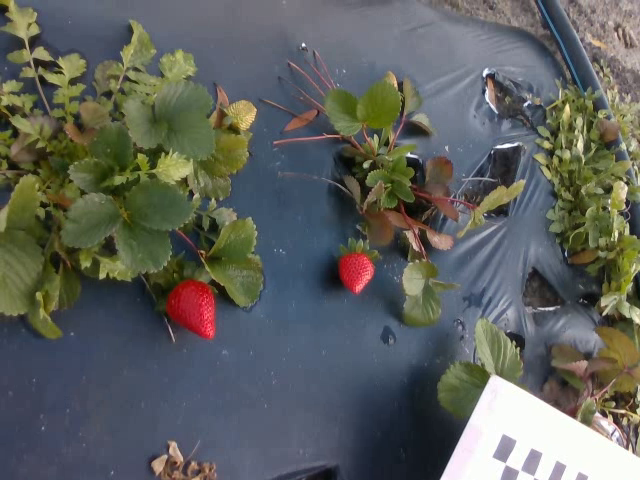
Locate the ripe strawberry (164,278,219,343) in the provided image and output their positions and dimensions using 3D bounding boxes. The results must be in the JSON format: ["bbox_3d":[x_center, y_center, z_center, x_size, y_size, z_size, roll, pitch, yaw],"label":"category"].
[{"bbox_3d":[-0.093,0.057,0.470,0.050,0.046,0.050,35,11,-43],"label":"ripe strawberry"}]

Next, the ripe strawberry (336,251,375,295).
[{"bbox_3d":[0.033,0.034,0.561,0.041,0.045,0.052,-13,39,17],"label":"ripe strawberry"}]
